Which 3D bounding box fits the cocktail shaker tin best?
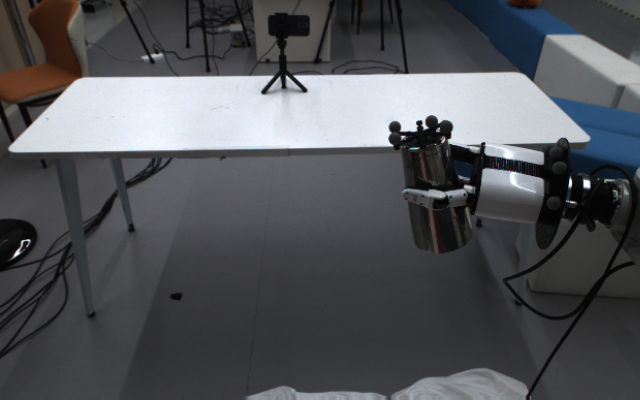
[{"bbox_3d":[0.169,-0.017,0.721,0.093,0.170,0.093,-15,29,8],"label":"cocktail shaker tin"}]
